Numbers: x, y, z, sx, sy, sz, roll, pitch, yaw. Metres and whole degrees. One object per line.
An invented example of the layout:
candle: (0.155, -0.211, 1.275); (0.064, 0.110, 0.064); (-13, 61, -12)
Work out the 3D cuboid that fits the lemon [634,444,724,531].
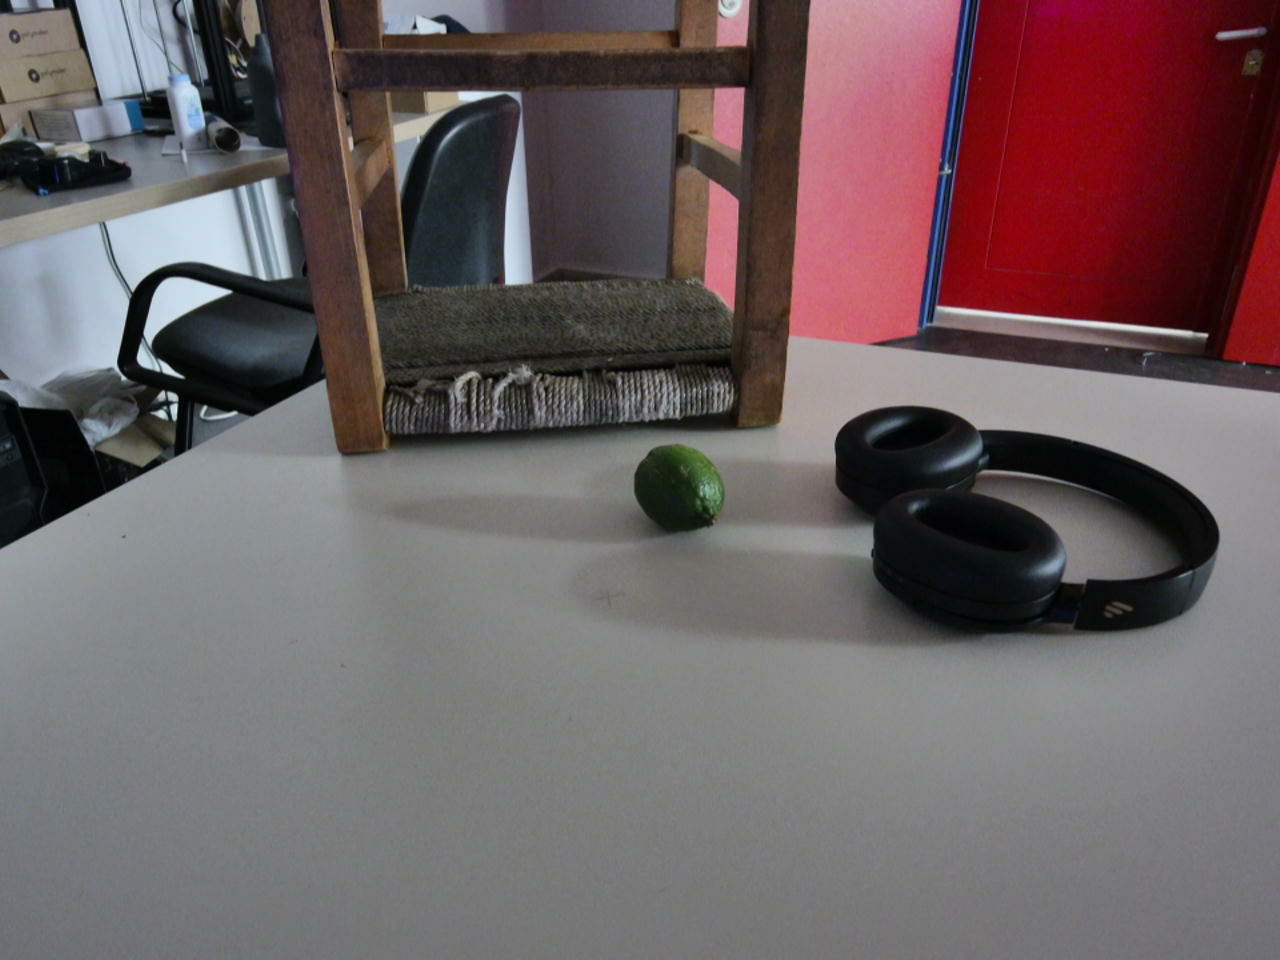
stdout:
lemon: (0.024, 0.004, 0.616); (0.057, 0.051, 0.054); (8, 27, 18)
